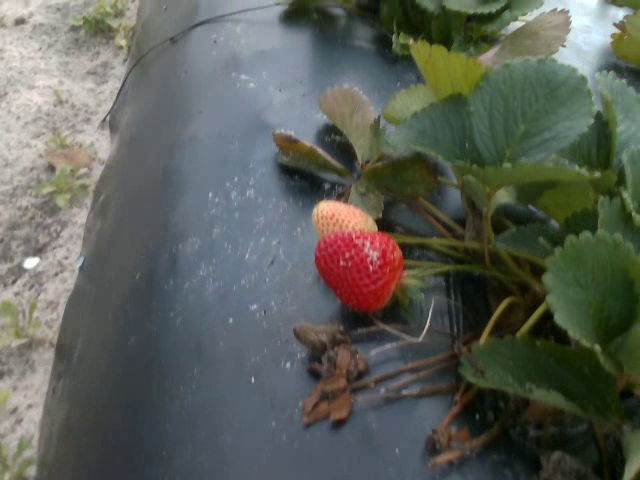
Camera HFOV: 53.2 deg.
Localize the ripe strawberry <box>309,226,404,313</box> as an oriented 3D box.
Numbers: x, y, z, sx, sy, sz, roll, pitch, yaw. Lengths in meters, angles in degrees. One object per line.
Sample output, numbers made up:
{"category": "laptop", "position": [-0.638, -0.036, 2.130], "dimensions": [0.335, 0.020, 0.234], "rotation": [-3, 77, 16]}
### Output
{"category": "ripe strawberry", "position": [0.015, 0.009, 0.254], "dimensions": [0.041, 0.034, 0.033], "rotation": [34, -32, -12]}
